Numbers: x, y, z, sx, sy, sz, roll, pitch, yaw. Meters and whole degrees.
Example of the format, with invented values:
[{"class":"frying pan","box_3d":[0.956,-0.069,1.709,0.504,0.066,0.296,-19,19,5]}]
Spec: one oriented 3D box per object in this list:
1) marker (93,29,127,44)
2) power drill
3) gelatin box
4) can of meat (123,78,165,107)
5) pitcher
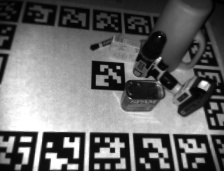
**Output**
[{"class":"marker","box_3d":[-0.007,-0.161,0.706,0.122,0.019,0.019,-22,69,-20]},{"class":"power drill","box_3d":[0.156,-0.055,0.592,0.187,0.184,0.057,36,65,3]},{"class":"gelatin box","box_3d":[0.051,-0.122,0.669,0.089,0.073,0.030,13,65,-5]},{"class":"can of meat","box_3d":[0.084,0.020,0.591,0.102,0.084,0.057,2,60,-10]},{"class":"pitcher","box_3d":[0.205,-0.155,0.629,0.187,0.243,0.133,29,64,13]}]
